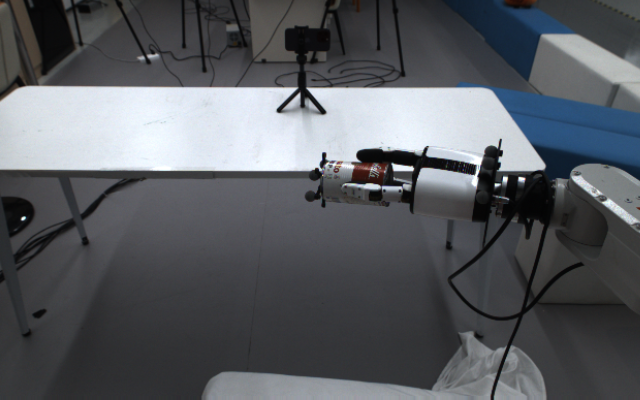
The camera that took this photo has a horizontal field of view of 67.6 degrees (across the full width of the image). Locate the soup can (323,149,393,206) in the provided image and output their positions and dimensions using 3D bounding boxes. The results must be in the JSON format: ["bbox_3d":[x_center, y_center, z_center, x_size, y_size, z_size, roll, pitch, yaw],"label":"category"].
[{"bbox_3d":[0.060,-0.027,0.758,0.101,0.067,0.067,5,34,18],"label":"soup can"}]
